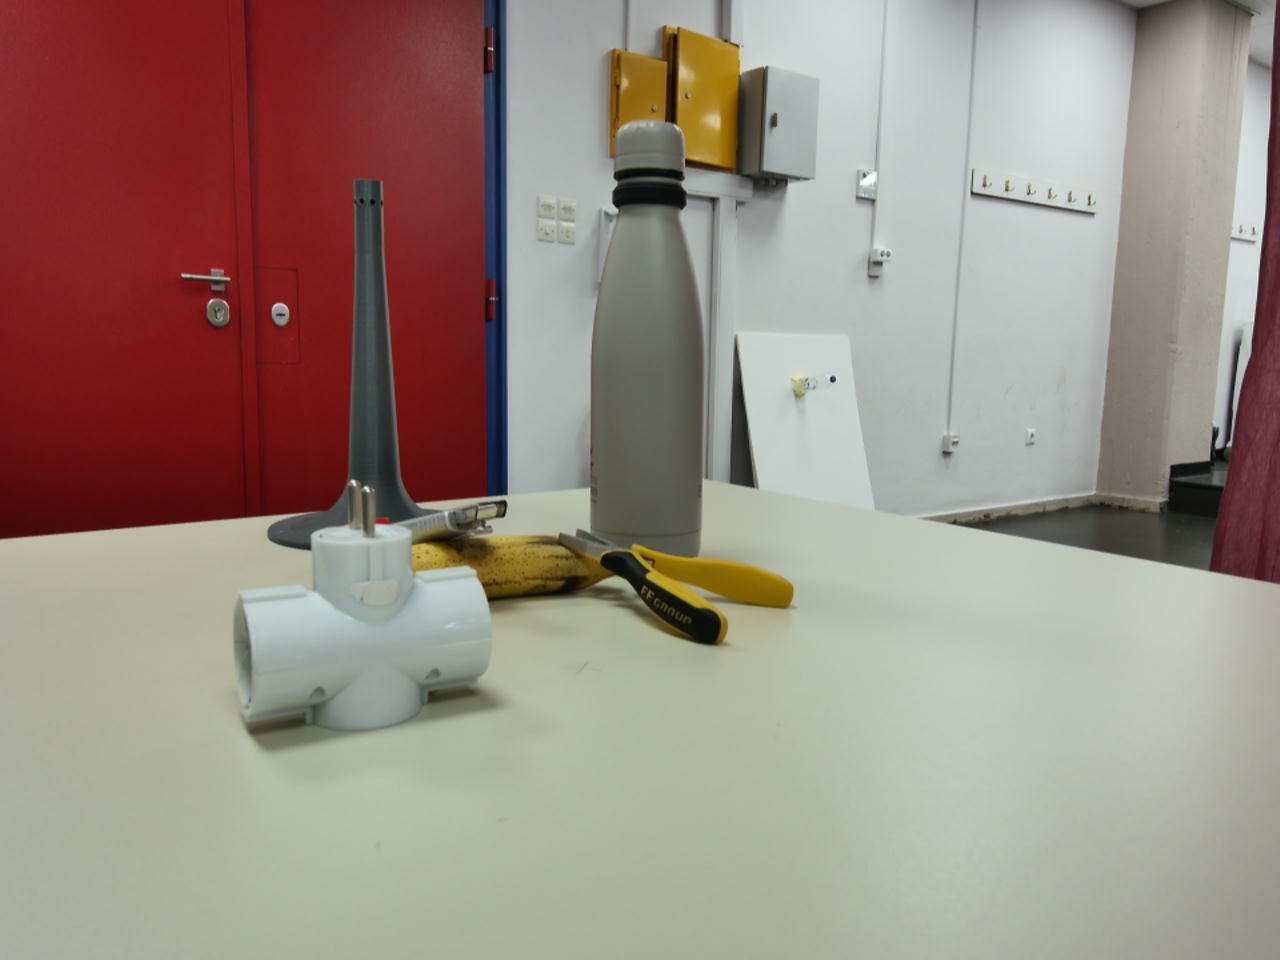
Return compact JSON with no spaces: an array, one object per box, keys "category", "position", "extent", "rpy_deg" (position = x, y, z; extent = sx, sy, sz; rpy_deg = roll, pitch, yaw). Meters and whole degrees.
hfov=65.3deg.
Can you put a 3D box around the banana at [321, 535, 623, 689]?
[{"category":"banana","position":[-0.091,0.055,0.512],"extent":[0.097,0.038,0.186],"rpy_deg":[3,7,25]}]
